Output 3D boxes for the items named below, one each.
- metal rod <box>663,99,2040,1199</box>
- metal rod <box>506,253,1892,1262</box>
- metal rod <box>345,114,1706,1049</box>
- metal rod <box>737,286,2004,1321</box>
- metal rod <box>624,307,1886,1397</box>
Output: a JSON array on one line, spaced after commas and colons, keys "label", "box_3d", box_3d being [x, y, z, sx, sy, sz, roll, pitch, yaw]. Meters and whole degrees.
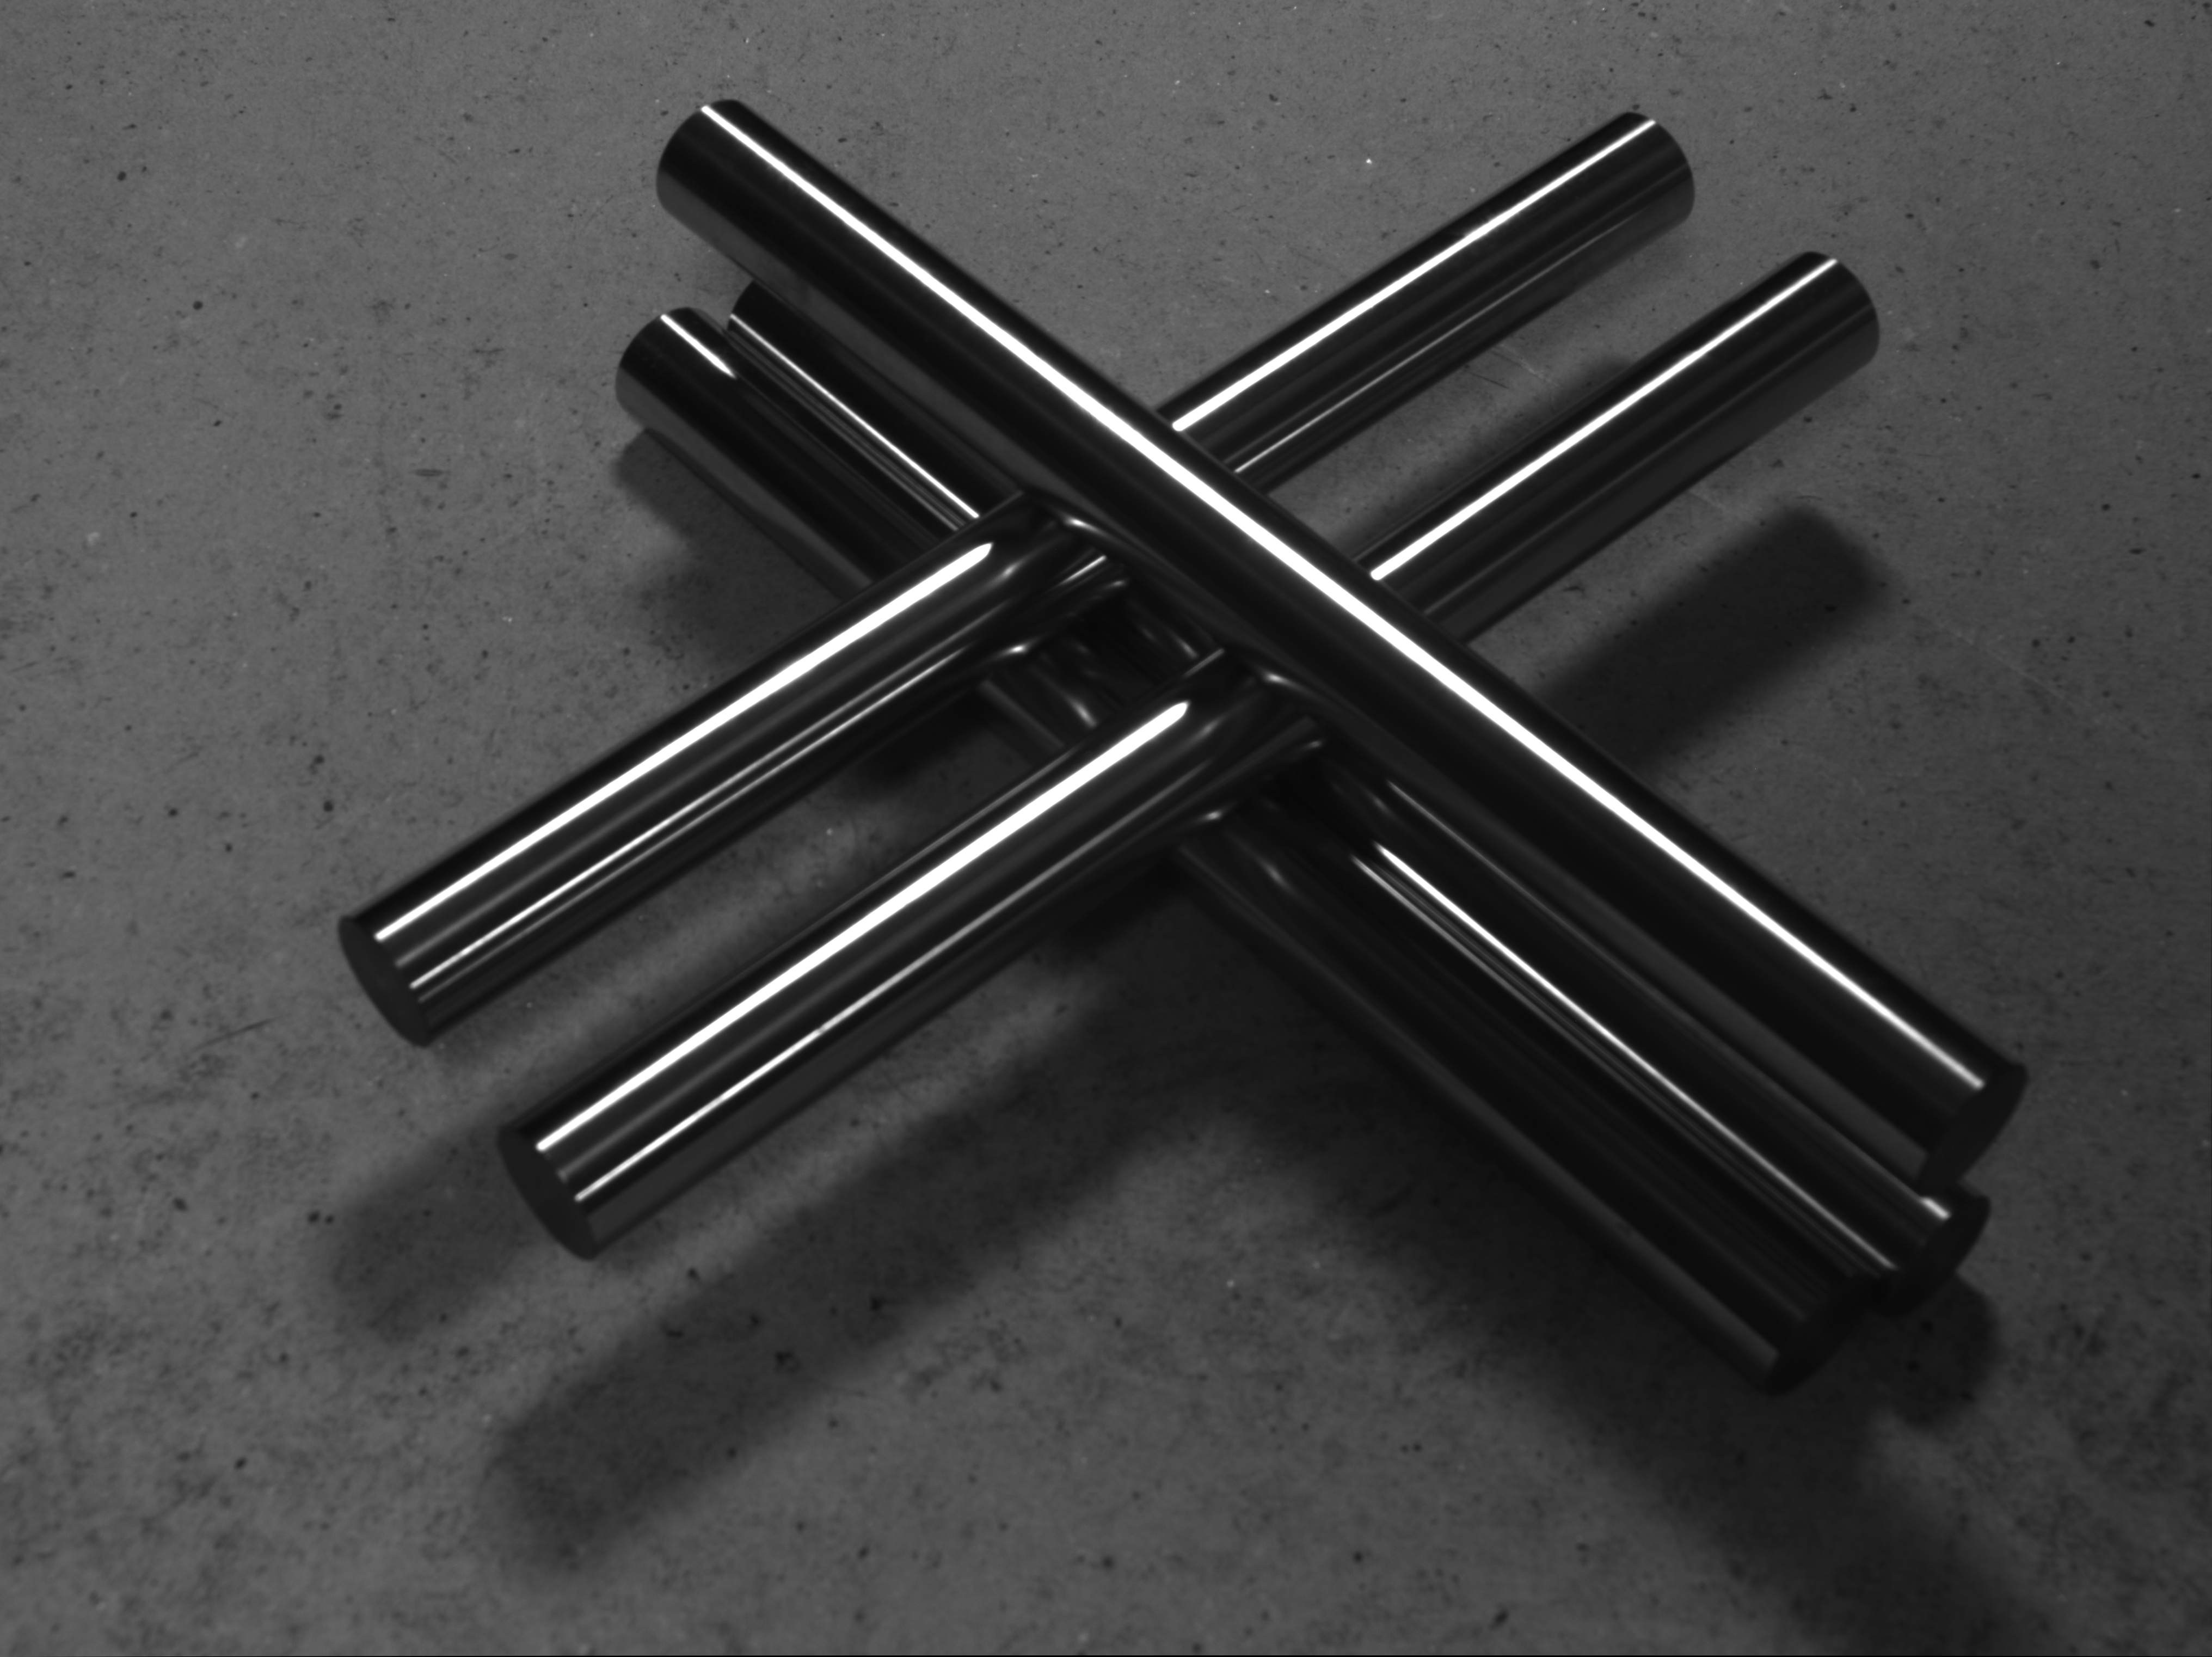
[{"label": "metal rod", "box_3d": [0.028, -0.040, 0.610, 0.025, 0.025, 0.299, -35, 58, -26]}, {"label": "metal rod", "box_3d": [0.027, -0.021, 0.627, 0.300, 0.025, 0.025, -35, 58, -26]}, {"label": "metal rod", "box_3d": [-0.003, -0.052, 0.653, 0.300, 0.025, 0.025, -35, 58, -26]}, {"label": "metal rod", "box_3d": [0.036, -0.017, 0.656, 0.025, 0.025, 0.299, -34, 58, -25]}, {"label": "metal rod", "box_3d": [0.015, -0.006, 0.647, 0.025, 0.025, 0.299, -34, 58, -25]}]
